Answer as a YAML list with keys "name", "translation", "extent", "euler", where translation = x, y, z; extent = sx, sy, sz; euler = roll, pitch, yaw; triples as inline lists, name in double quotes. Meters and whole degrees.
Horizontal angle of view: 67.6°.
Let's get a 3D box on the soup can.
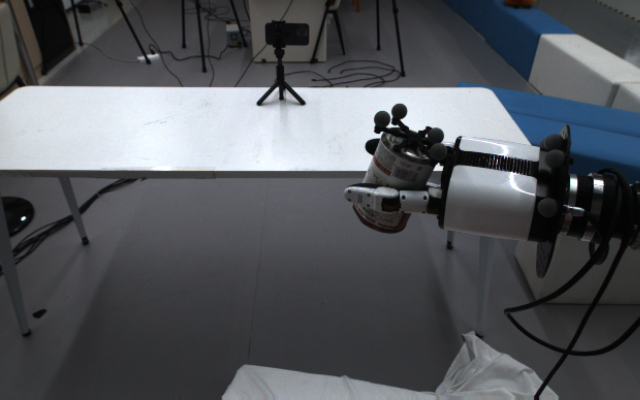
- name: "soup can"
  translation: [0.087, -0.022, 0.550]
  extent: [0.067, 0.101, 0.067]
  euler: [13, 35, -9]
